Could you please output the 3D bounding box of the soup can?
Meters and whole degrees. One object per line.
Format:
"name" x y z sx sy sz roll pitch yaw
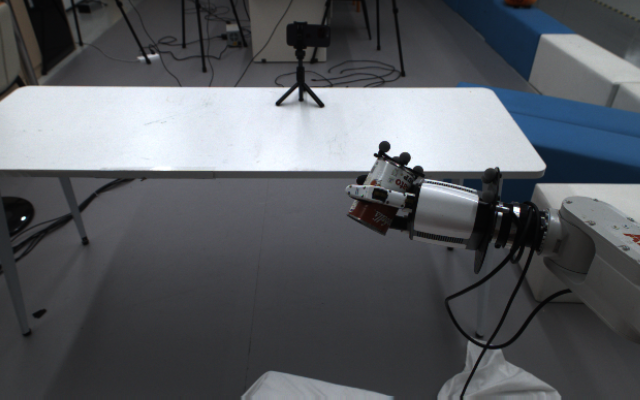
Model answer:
"soup can" 0.094 -0.006 0.740 0.067 0.101 0.067 29 -2 1
